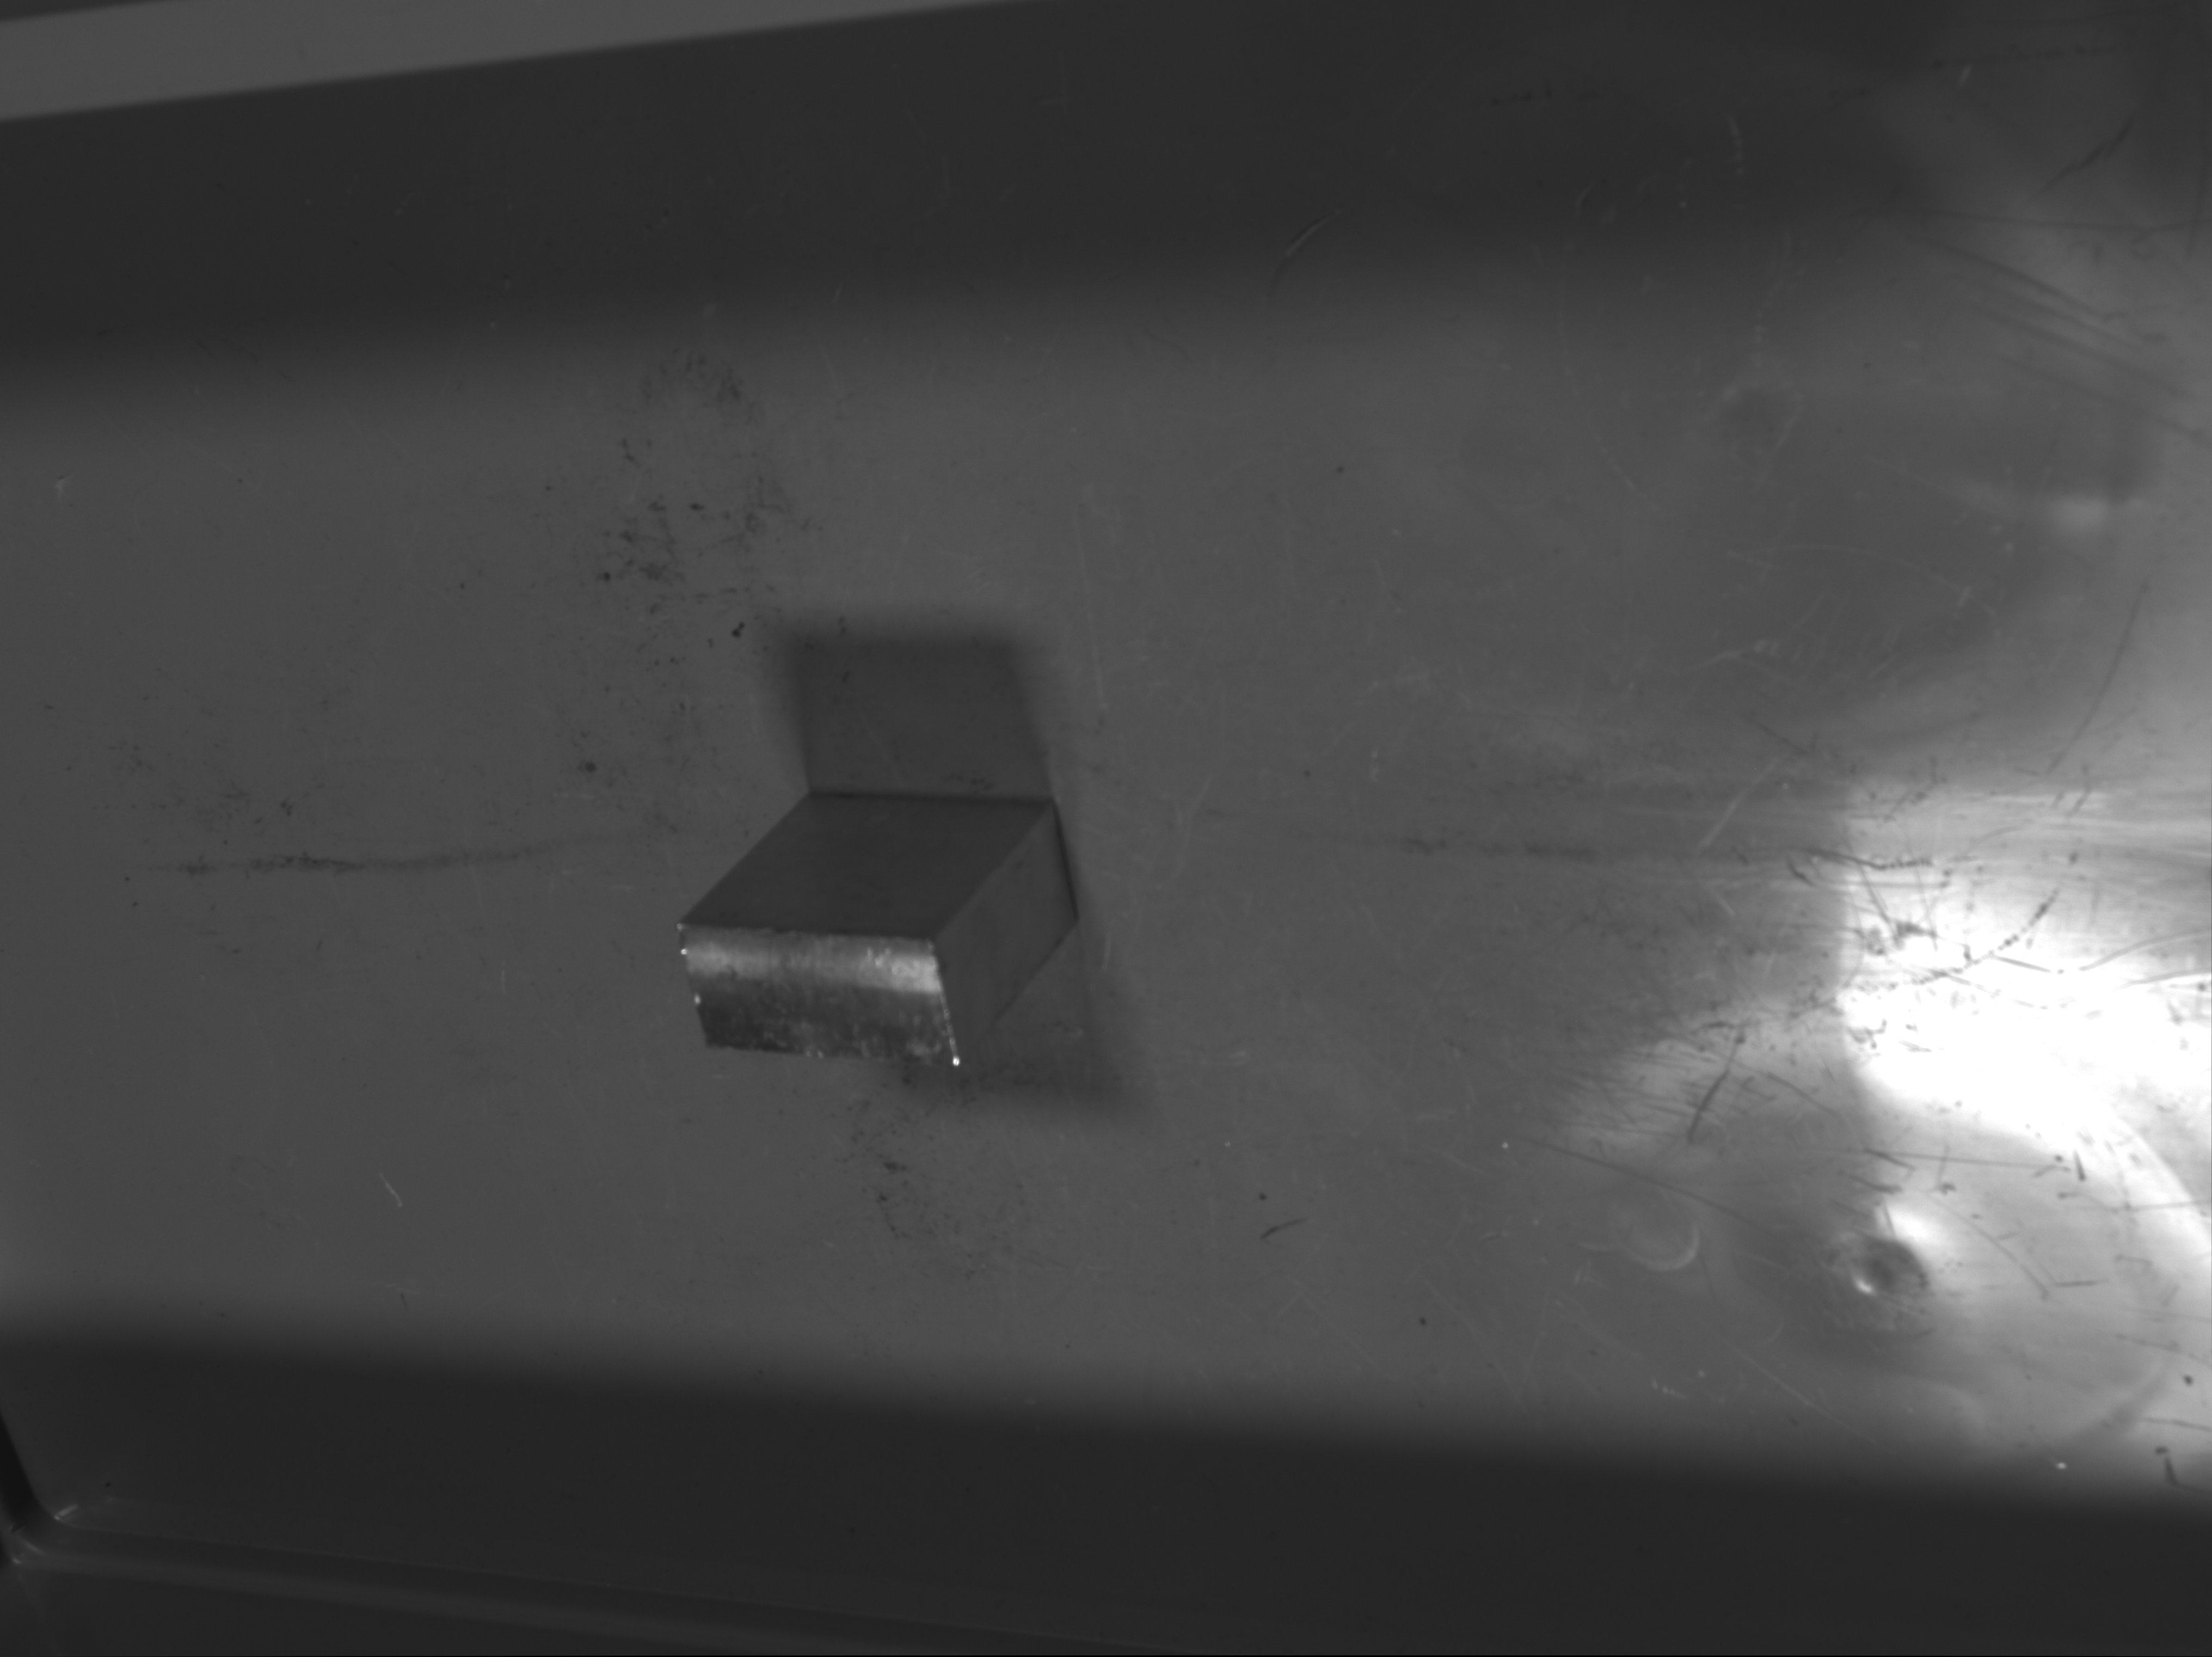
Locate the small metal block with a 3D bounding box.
[{"bbox_3d":[-0.043,0.017,0.643,0.050,0.050,0.025,3,119,25],"label":"small metal block"}]
